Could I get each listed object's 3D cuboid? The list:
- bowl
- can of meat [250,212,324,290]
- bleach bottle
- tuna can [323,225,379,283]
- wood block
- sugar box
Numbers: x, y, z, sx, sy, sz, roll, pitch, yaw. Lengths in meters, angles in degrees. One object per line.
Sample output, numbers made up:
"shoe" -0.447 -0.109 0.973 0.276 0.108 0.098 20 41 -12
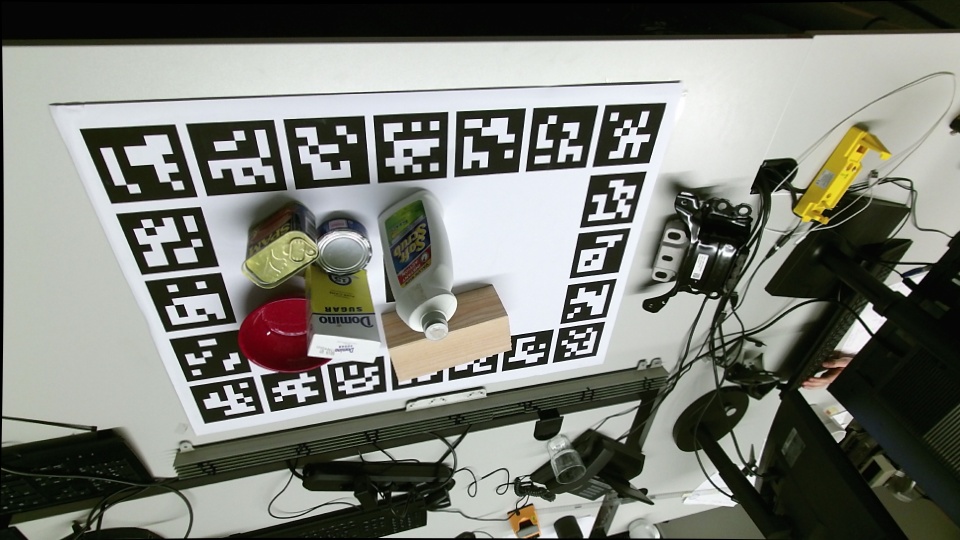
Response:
"bowl" -0.296 0.108 0.860 0.162 0.055 0.162 -12 130 -15
"can of meat" -0.270 -0.024 0.755 0.102 0.083 0.058 -31 133 6
"bleach bottle" -0.067 0.004 0.736 0.103 0.249 0.068 -28 131 2
"tuna can" -0.193 -0.025 0.805 0.086 0.033 0.086 -10 125 -14
"wood block" -0.045 0.120 0.940 0.207 0.089 0.091 -15 125 -8
"sugar box" -0.198 0.068 0.782 0.093 0.176 0.045 9 120 -30
